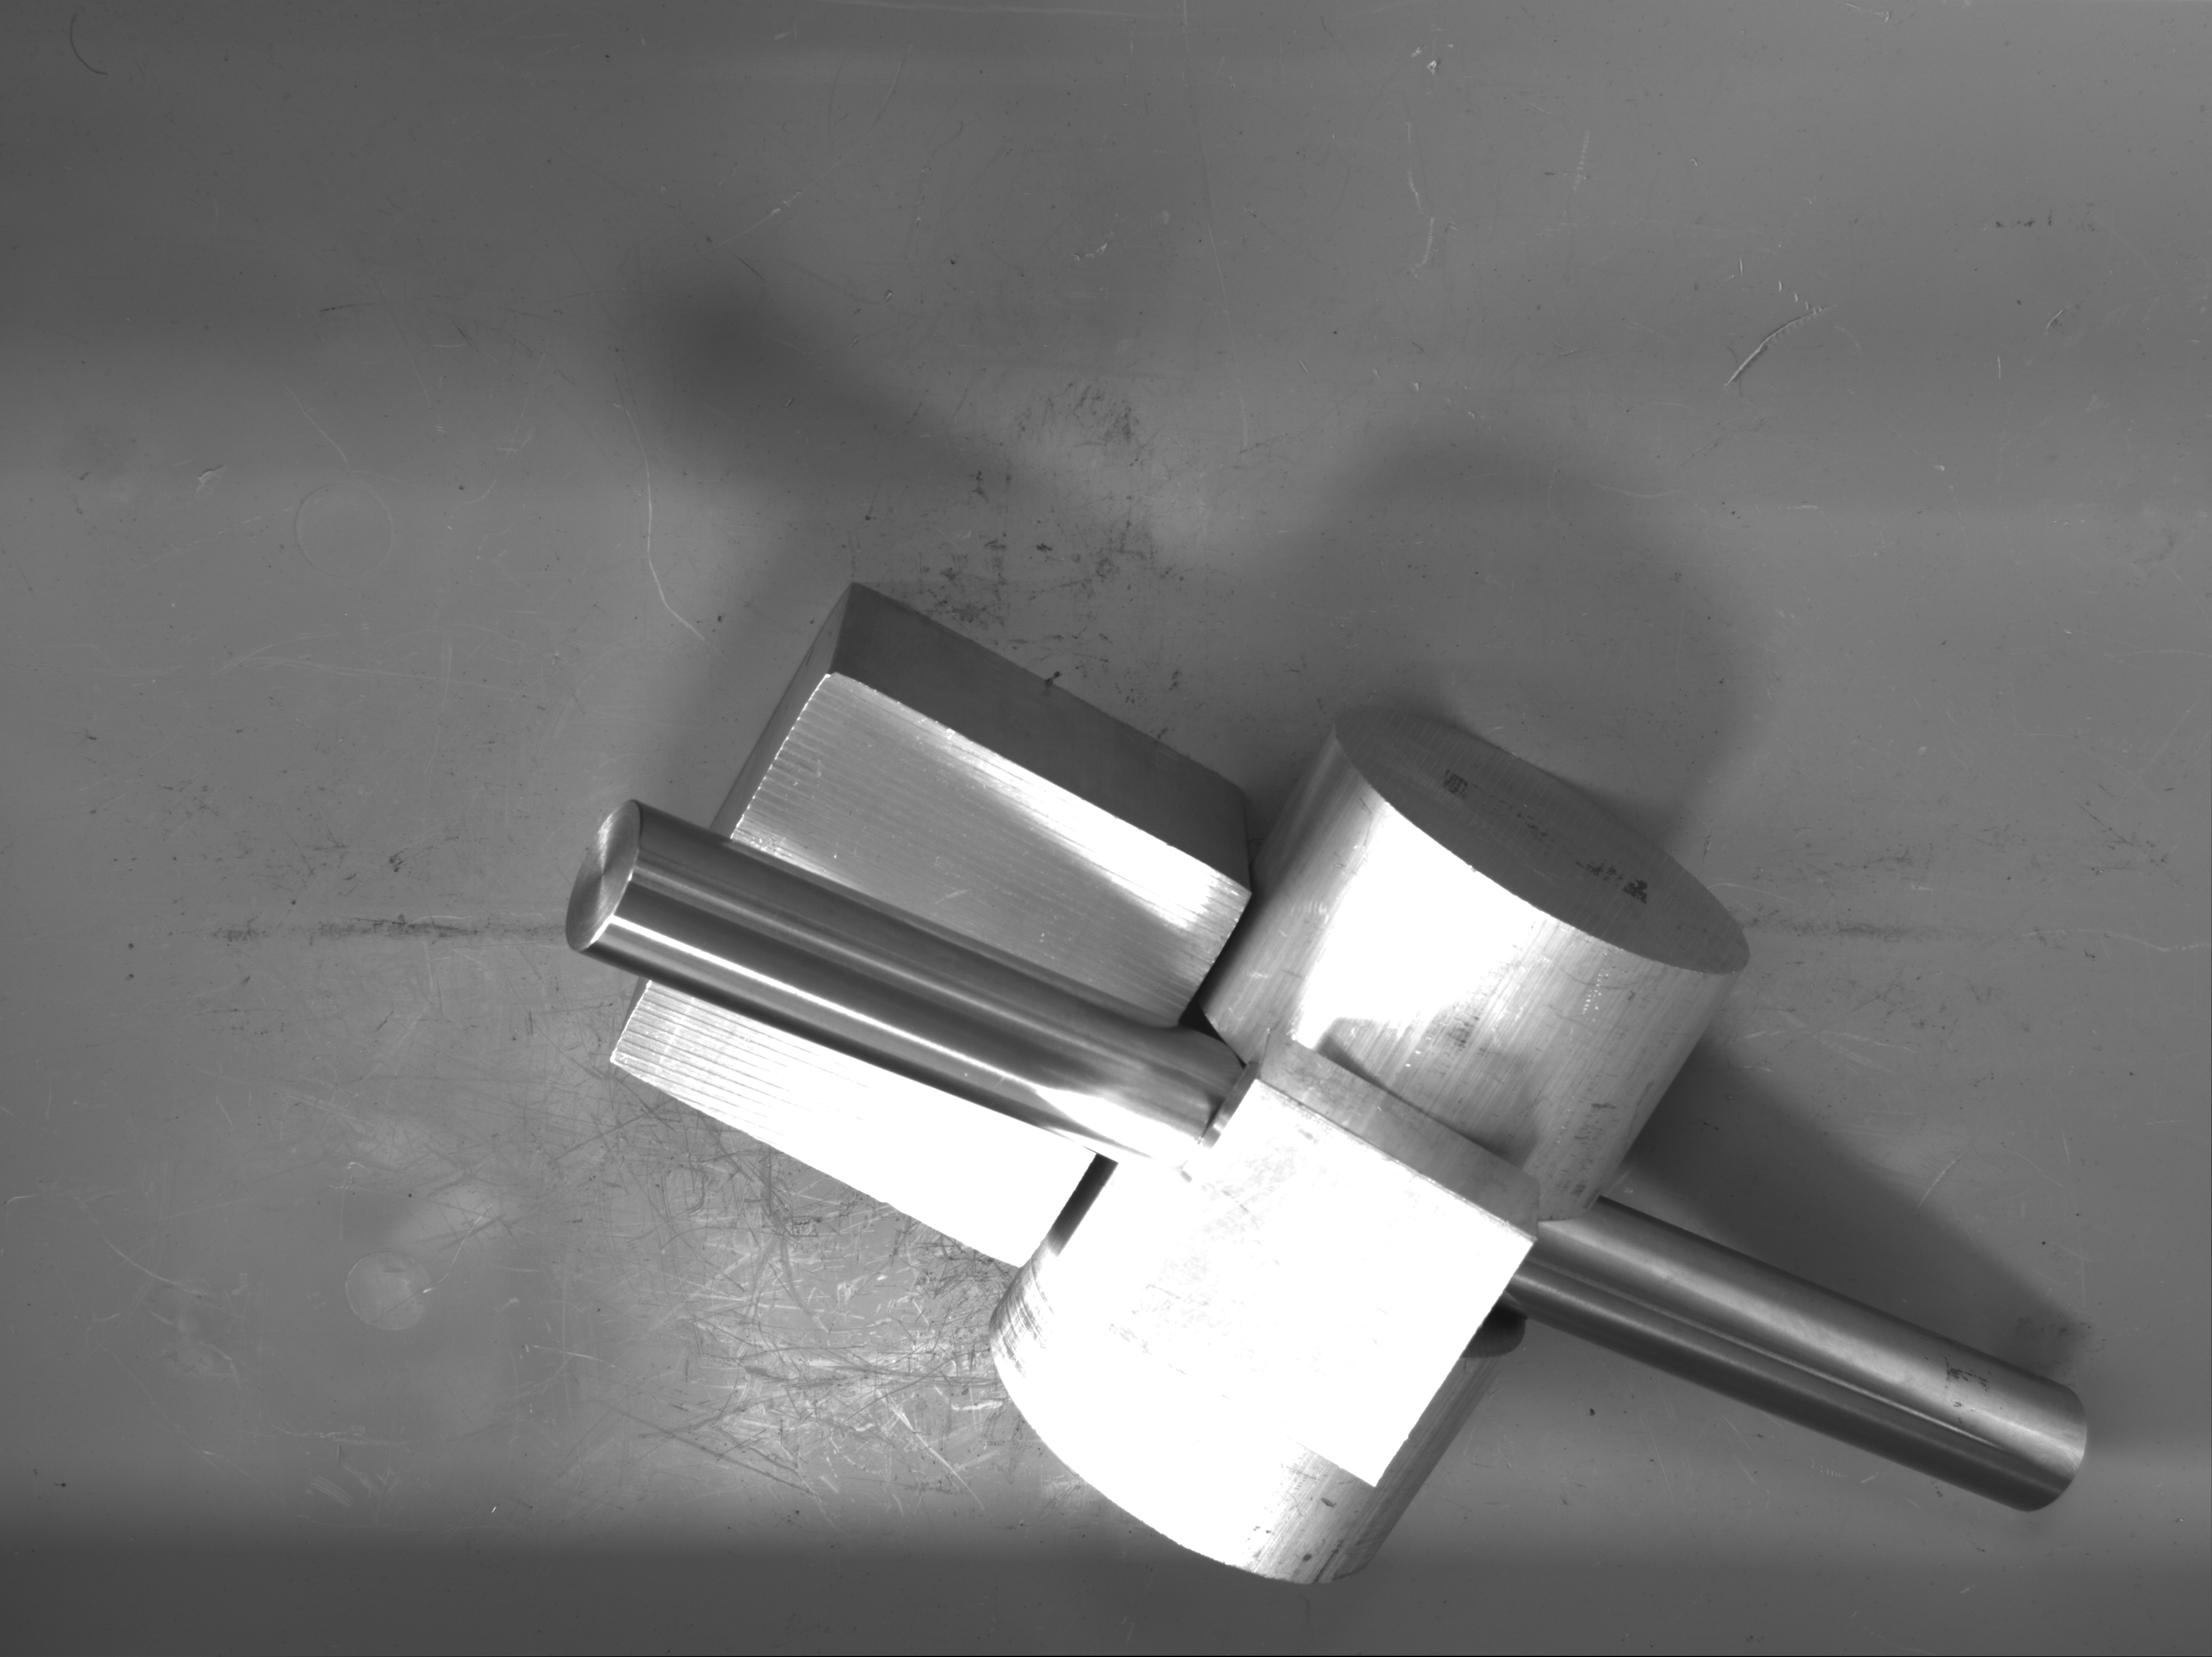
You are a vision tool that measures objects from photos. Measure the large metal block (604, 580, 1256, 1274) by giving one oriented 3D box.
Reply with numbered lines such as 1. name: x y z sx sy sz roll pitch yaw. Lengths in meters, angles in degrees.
1. large metal block: -0.030 0.017 0.633 0.080 0.050 0.080 28 108 -10

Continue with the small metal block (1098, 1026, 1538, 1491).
1. small metal block: 0.034 0.068 0.584 0.050 0.025 0.050 30 108 -2

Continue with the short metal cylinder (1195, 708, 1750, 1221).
1. short metal cylinder: 0.061 0.022 0.622 0.080 0.080 0.050 26 108 -9

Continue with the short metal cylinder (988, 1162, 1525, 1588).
1. short metal cylinder: 0.026 0.087 0.645 0.080 0.080 0.050 28 108 -10

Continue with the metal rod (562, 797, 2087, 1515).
1. metal rod: 0.048 0.061 0.623 0.301 0.025 0.025 23 109 -24
